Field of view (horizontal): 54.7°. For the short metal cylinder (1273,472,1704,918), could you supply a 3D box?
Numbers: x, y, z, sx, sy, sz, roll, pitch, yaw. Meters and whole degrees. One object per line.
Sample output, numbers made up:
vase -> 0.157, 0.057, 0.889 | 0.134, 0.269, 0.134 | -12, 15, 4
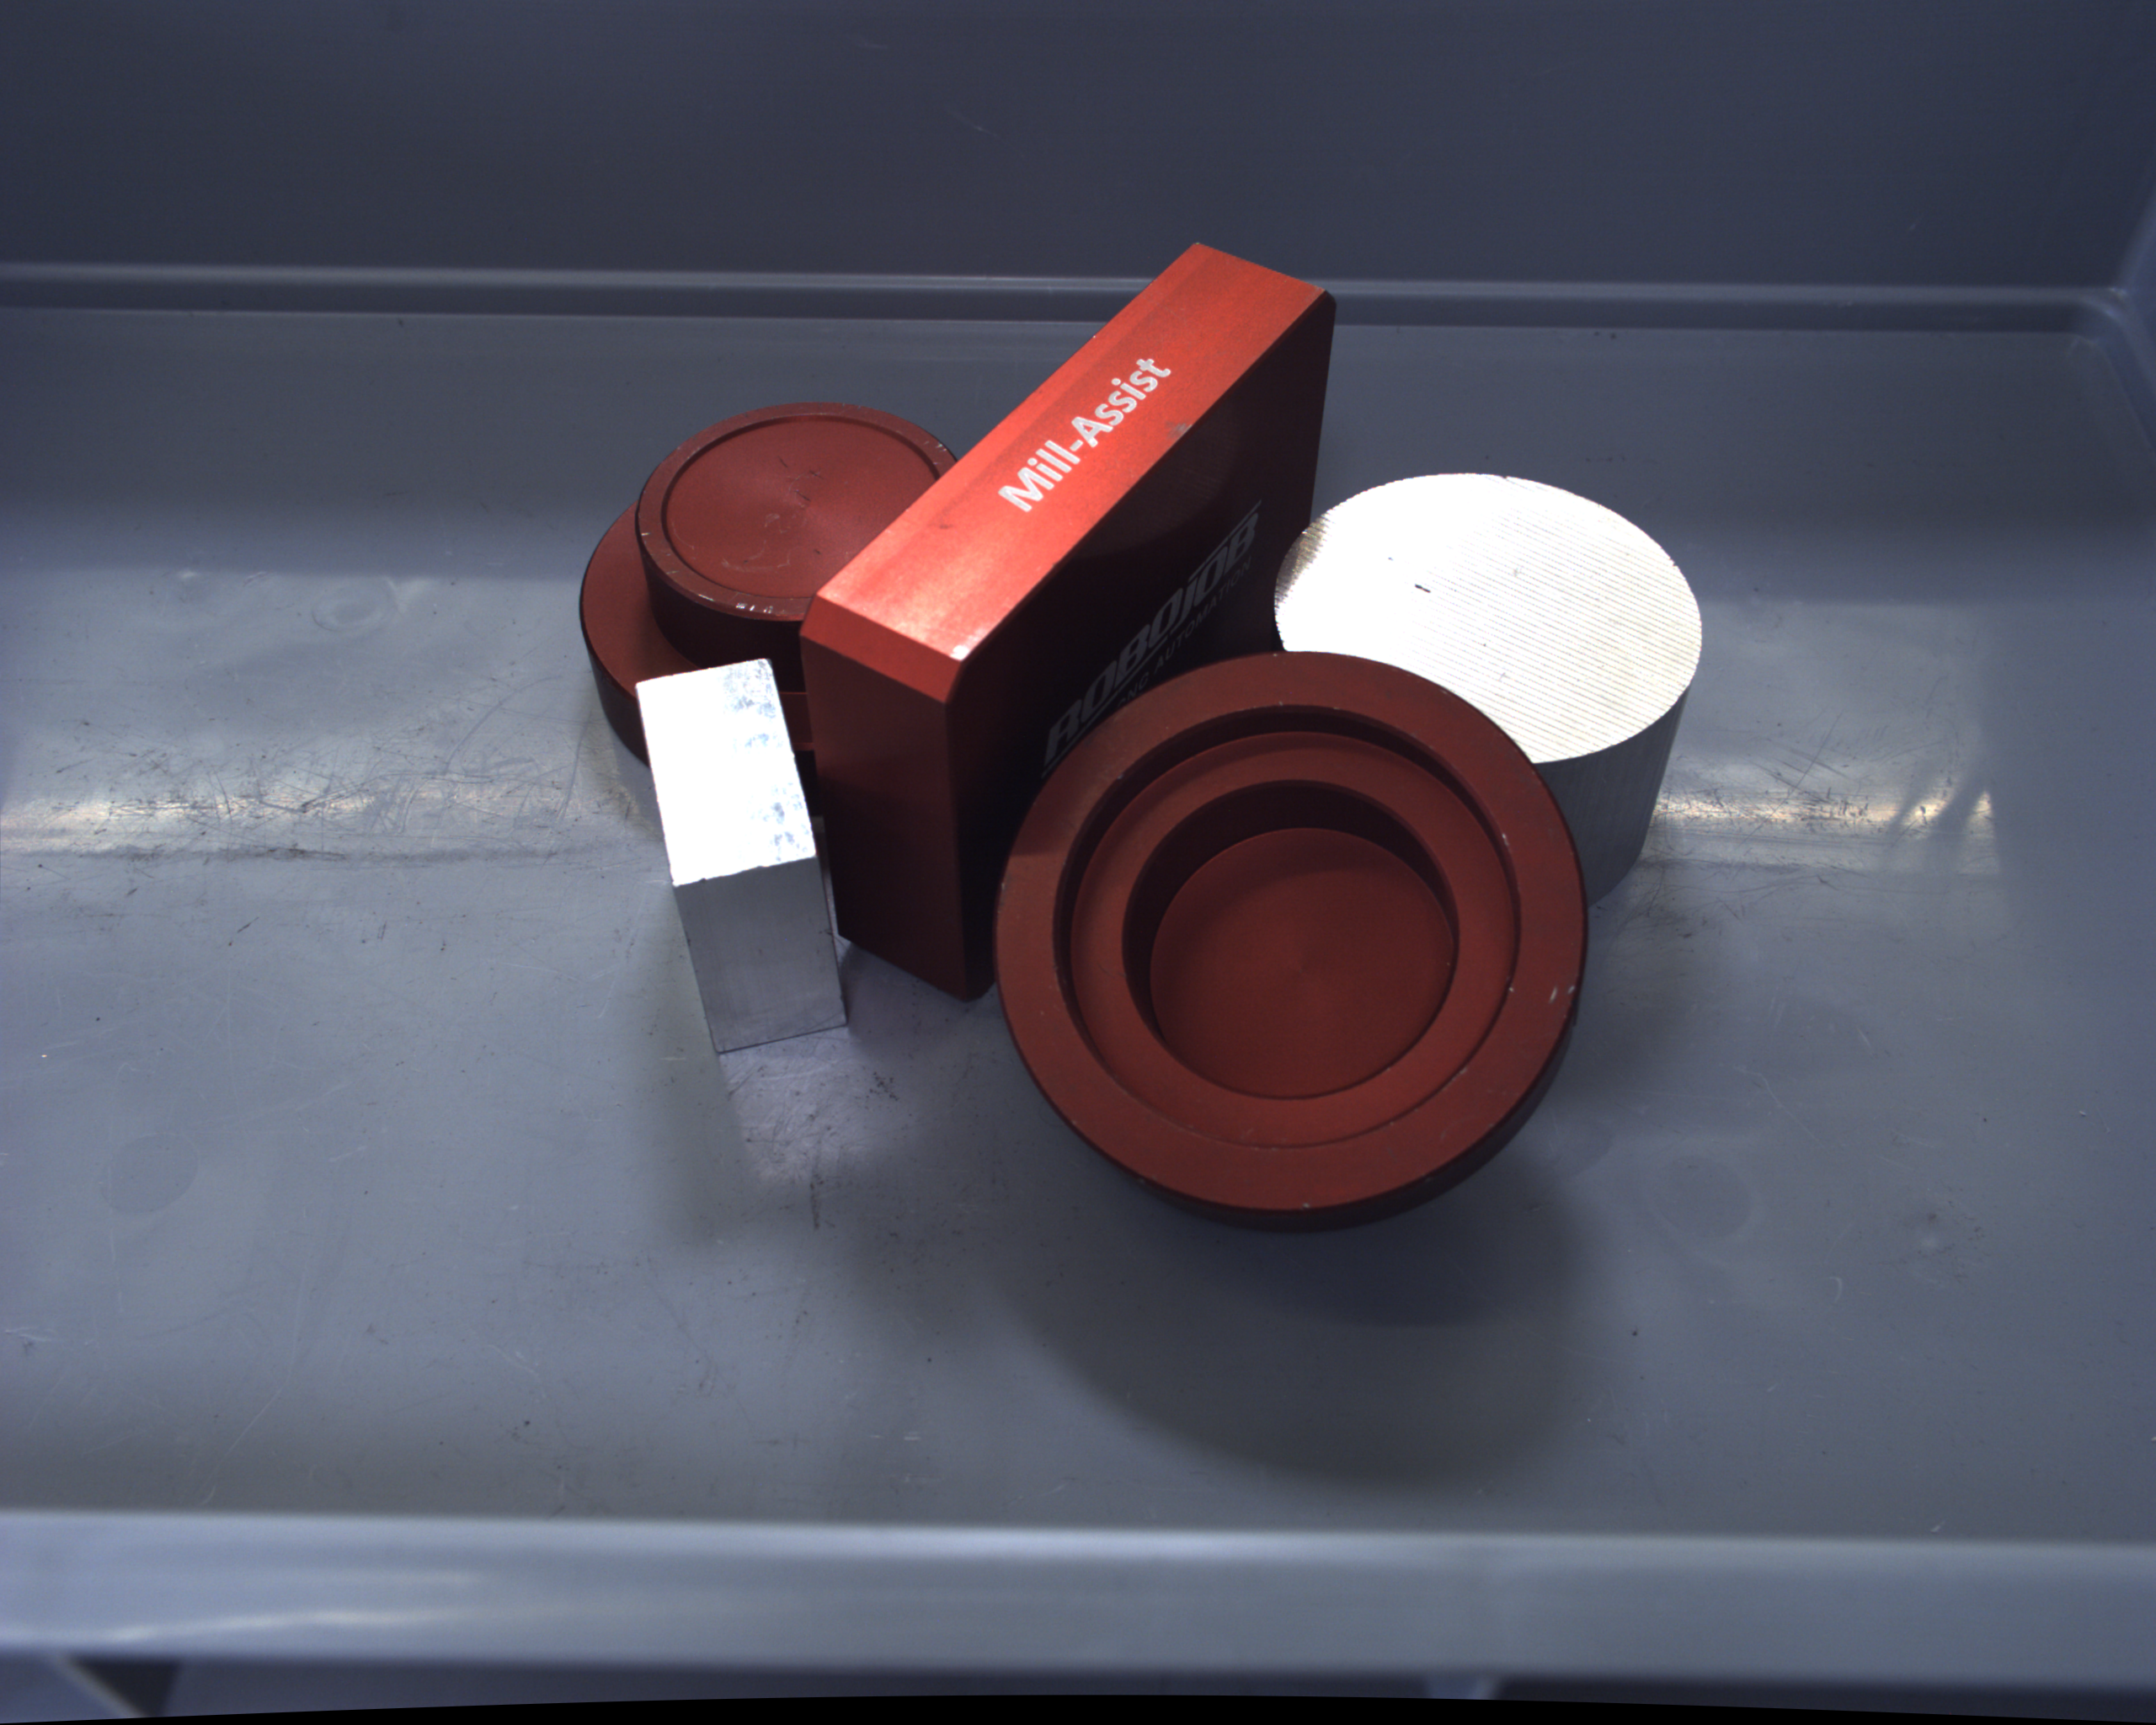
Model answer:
short metal cylinder -> 0.078, -0.032, 0.414 | 0.081, 0.050, 0.080 | 0, 50, 0

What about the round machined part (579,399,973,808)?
round machined part -> -0.056, -0.061, 0.441 | 0.099, 0.042, 0.098 | 0, 50, 0

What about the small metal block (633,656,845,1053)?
small metal block -> -0.063, -0.001, 0.386 | 0.025, 0.050, 0.050 | -12, 51, -10

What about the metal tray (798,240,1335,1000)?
metal tray -> 0.002, -0.047, 0.400 | 0.030, 0.089, 0.130 | 26, 55, 20

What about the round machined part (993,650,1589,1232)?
round machined part -> 0.038, 0.016, 0.364 | 0.098, 0.042, 0.098 | -3, 71, 10
